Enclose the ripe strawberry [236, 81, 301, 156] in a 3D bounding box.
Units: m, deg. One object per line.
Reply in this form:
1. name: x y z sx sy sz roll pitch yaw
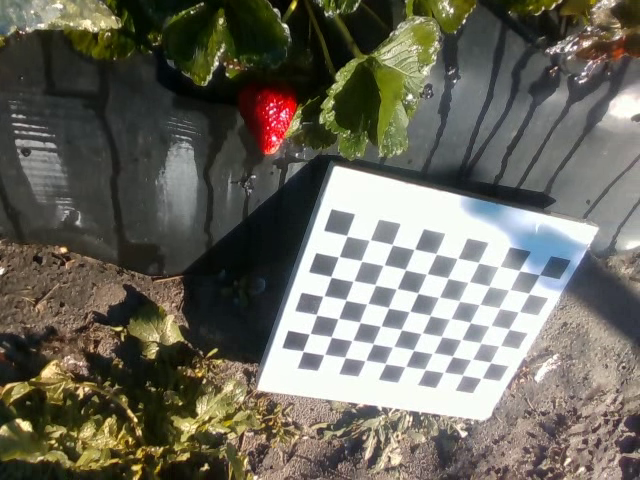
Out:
1. ripe strawberry: -0.033 -0.077 0.404 0.042 0.052 0.047 5 -9 -13
